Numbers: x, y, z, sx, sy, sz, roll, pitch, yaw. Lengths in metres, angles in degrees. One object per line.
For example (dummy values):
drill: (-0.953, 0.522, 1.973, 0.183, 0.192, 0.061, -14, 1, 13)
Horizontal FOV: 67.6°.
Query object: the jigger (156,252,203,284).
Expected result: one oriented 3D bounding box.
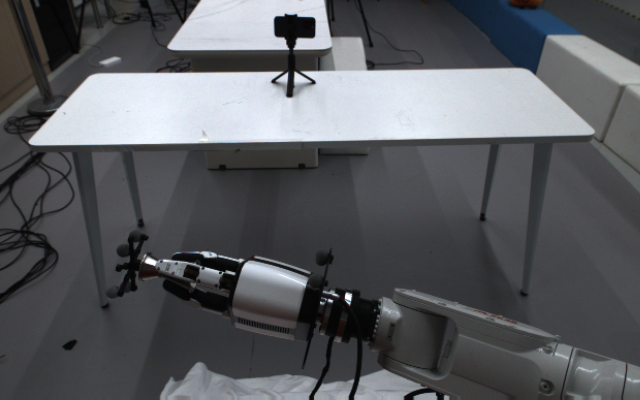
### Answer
jigger: (-0.190, 0.092, 0.635, 0.071, 0.043, 0.043, 11, 35, 1)
